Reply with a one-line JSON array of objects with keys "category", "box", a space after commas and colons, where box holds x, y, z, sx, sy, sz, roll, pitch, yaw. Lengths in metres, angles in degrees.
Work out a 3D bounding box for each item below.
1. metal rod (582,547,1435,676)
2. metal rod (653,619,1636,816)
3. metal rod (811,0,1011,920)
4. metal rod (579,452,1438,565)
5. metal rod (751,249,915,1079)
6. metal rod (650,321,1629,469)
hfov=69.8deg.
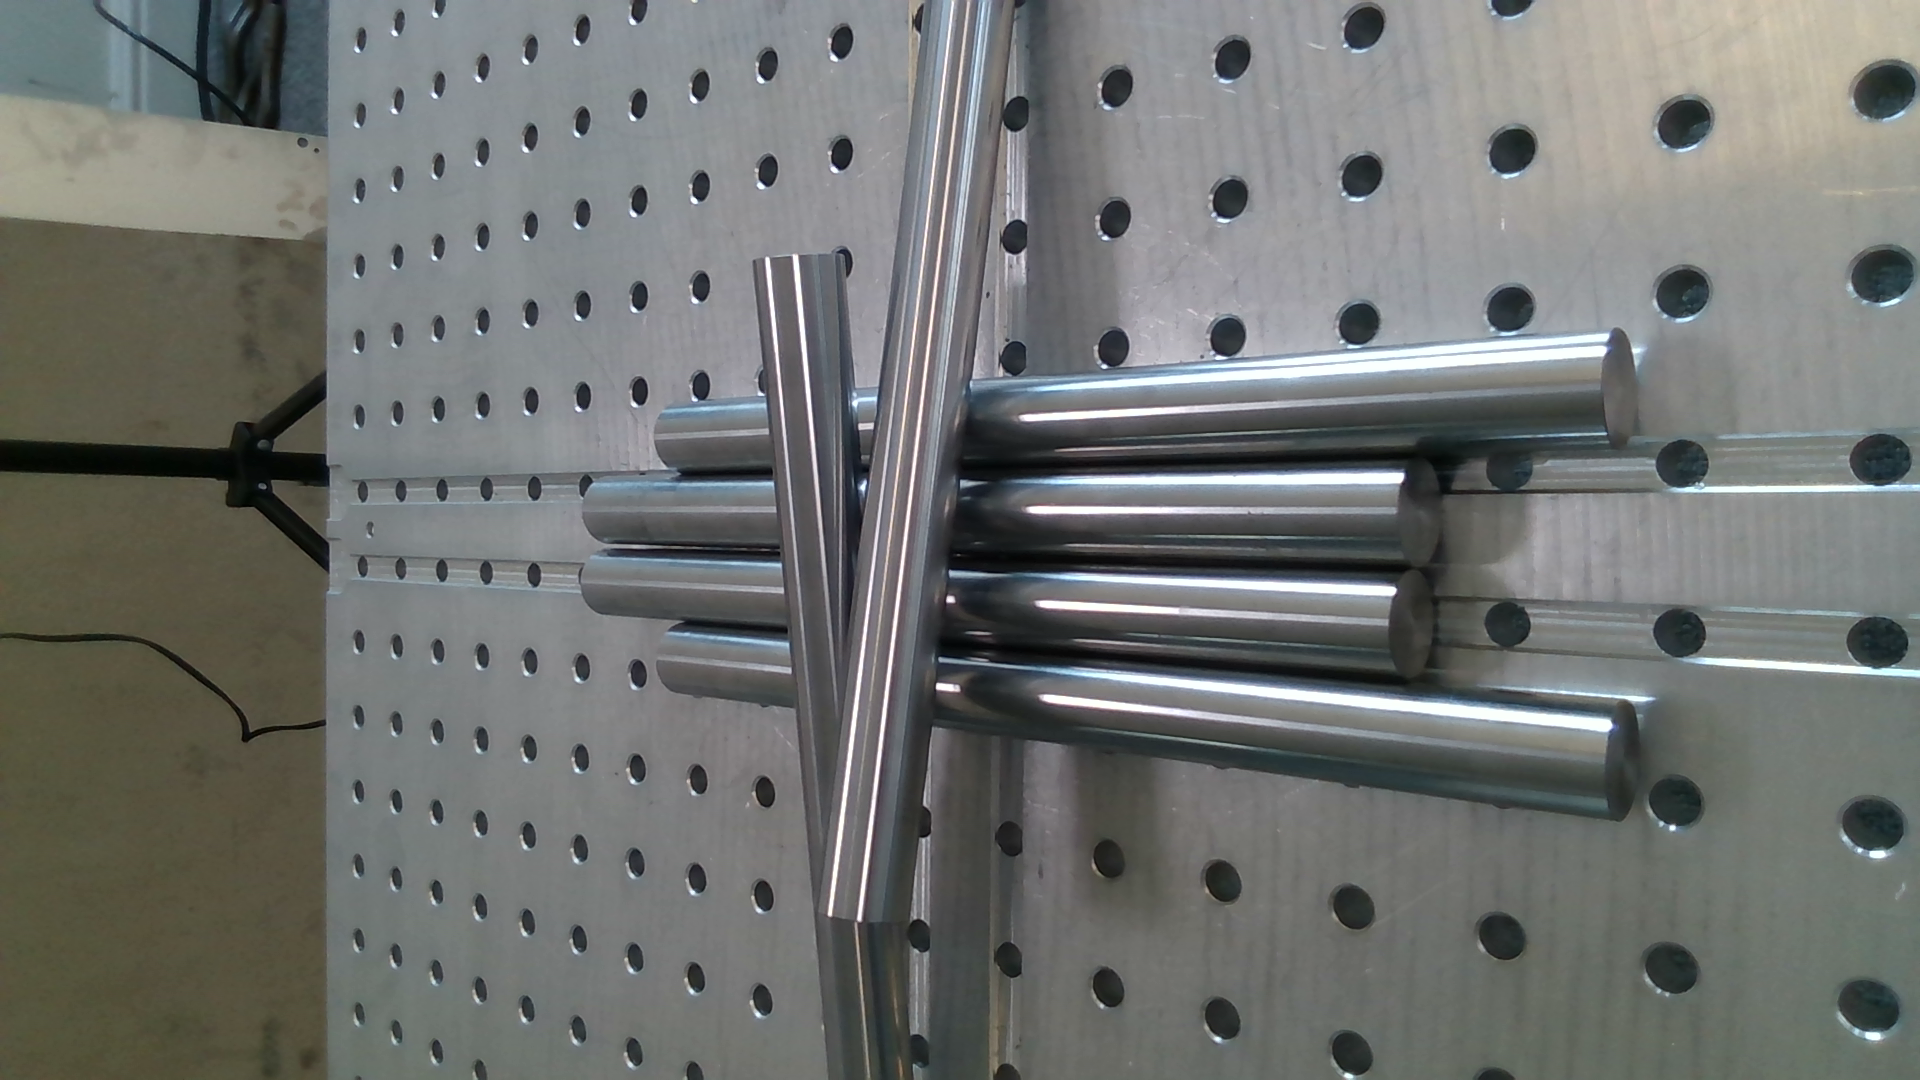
[{"category": "metal rod", "box": [-0.013, 0.016, 0.406, 0.300, 0.025, 0.025, 1, 91, 40]}, {"category": "metal rod", "box": [0.019, 0.042, 0.376, 0.300, 0.025, 0.025, 1, 91, 40]}, {"category": "metal rod", "box": [-0.009, -0.053, 0.370, 0.025, 0.025, 0.300, 1, 82, 40]}, {"category": "metal rod", "box": [-0.013, -0.010, 0.403, 0.300, 0.025, 0.025, 2, 91, 40]}, {"category": "metal rod", "box": [-0.033, 0.070, 0.395, 0.025, 0.025, 0.300, 3, 101, 40]}, {"category": "metal rod", "box": [0.018, -0.034, 0.377, 0.300, 0.025, 0.025, 1, 91, 40]}]
